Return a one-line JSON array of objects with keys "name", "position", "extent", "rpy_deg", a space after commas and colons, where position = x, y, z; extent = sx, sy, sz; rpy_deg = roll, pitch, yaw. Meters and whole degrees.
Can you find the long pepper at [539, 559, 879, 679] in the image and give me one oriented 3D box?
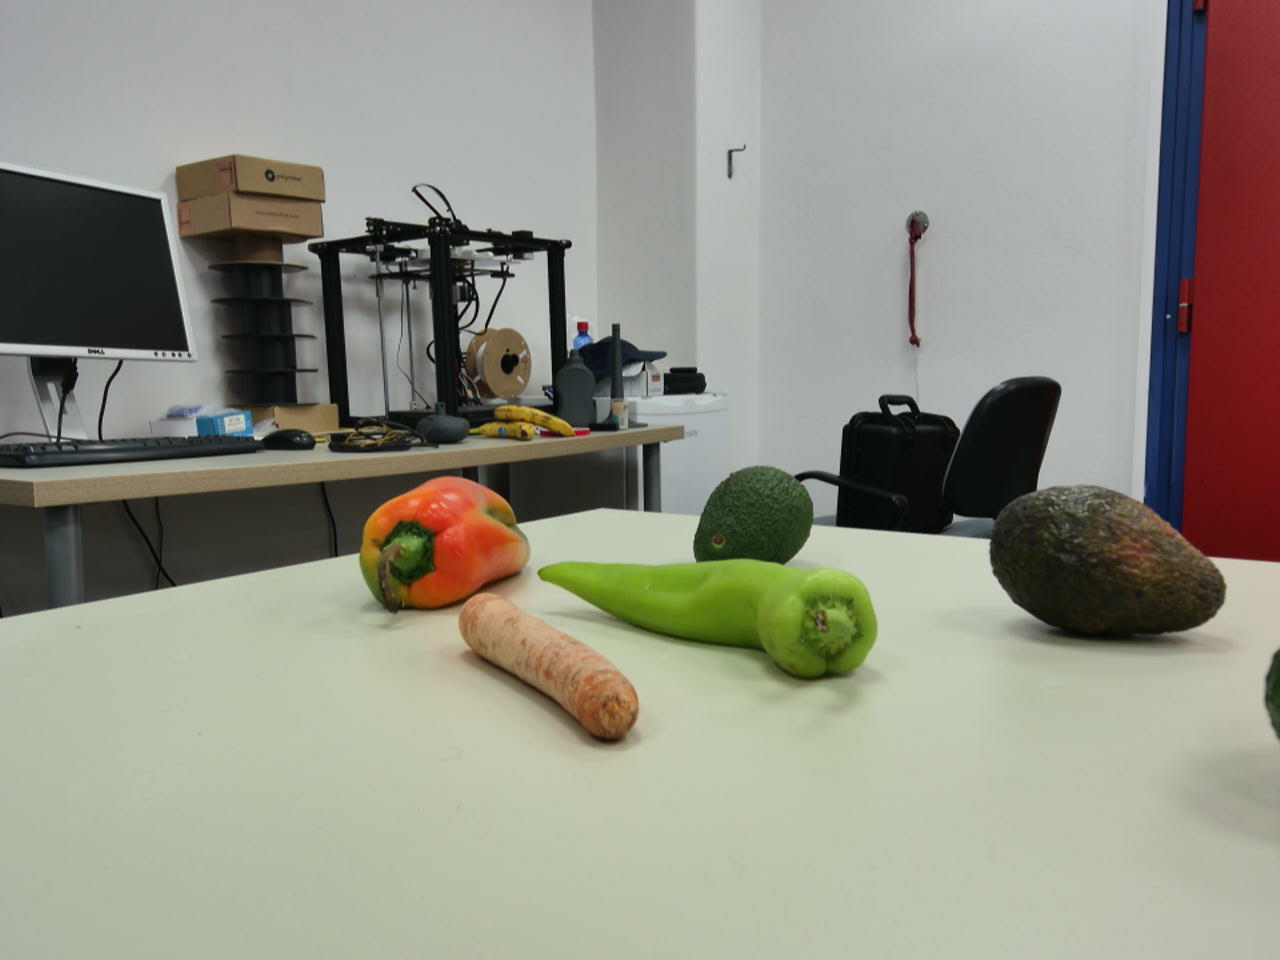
[{"name": "long pepper", "position": [0.032, 0.055, 0.470], "extent": [0.065, 0.045, 0.205], "rpy_deg": [-2, 4, -36]}]
